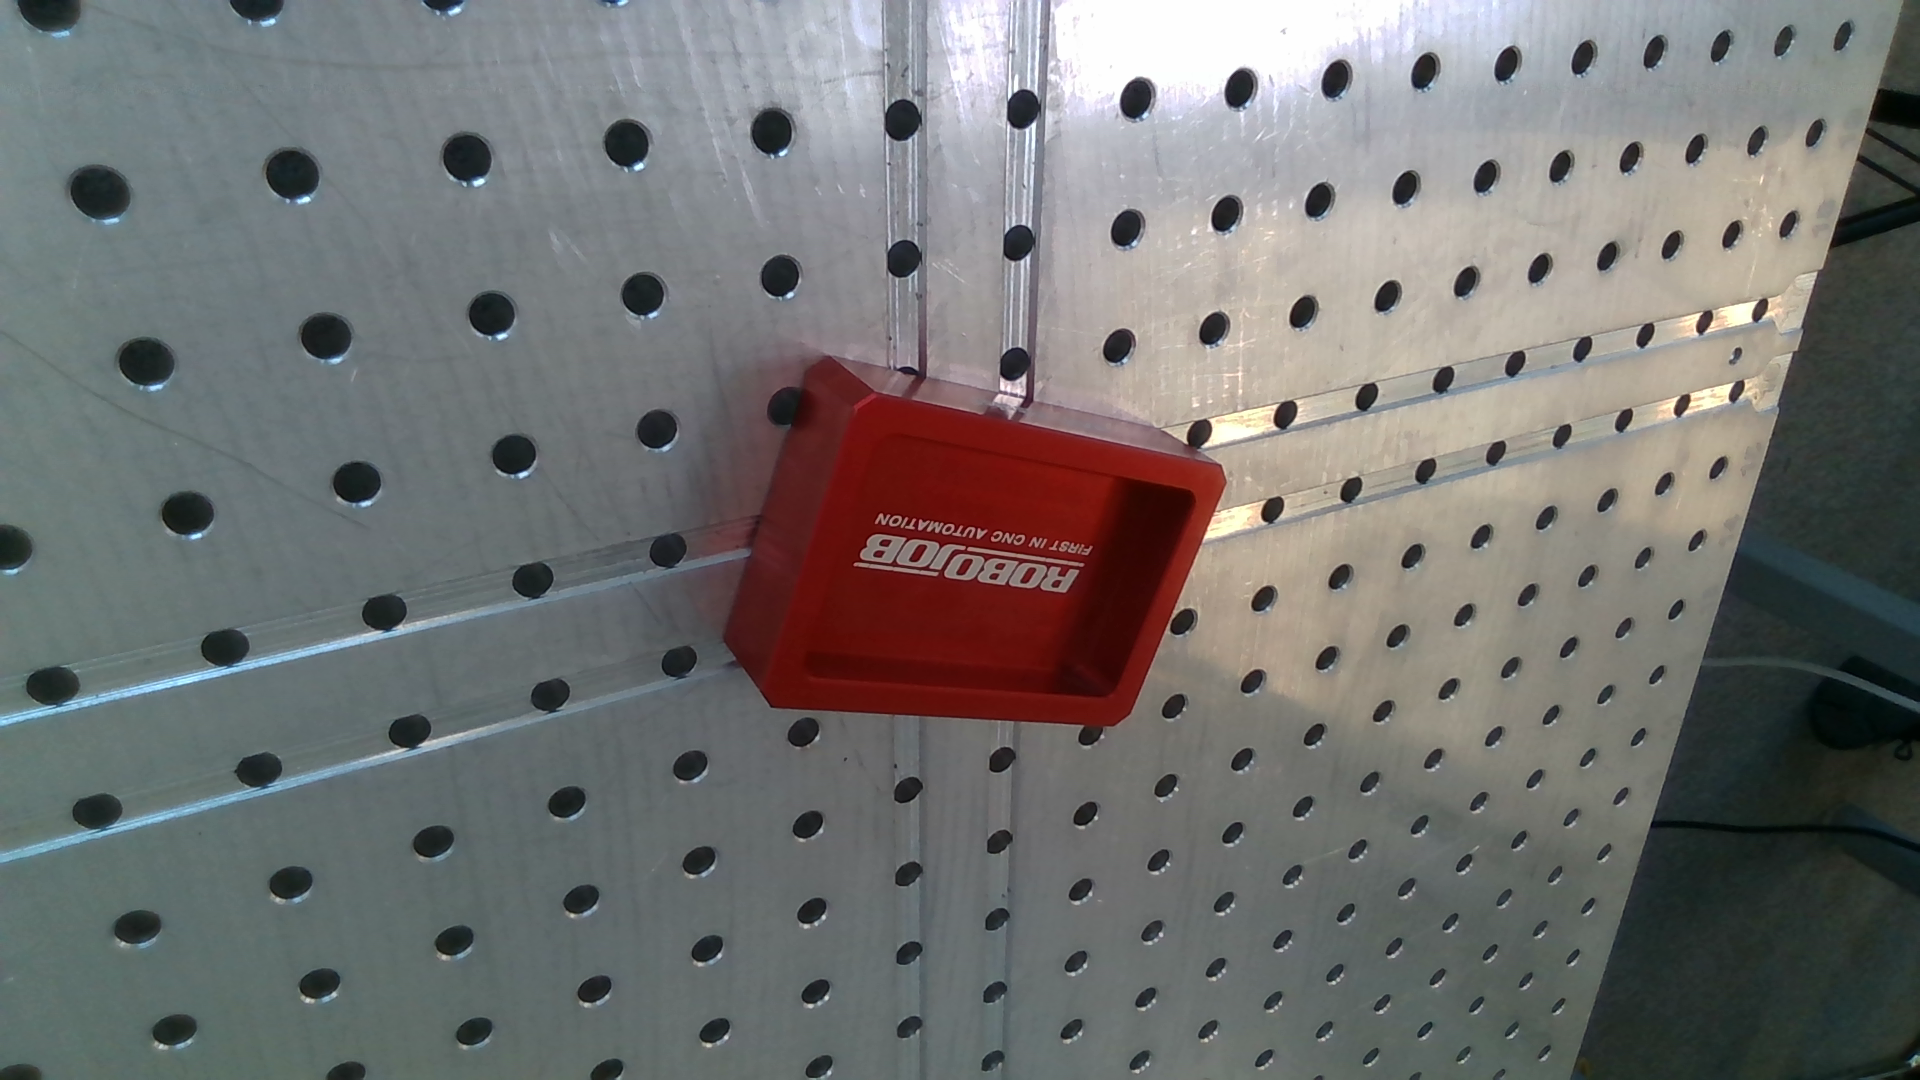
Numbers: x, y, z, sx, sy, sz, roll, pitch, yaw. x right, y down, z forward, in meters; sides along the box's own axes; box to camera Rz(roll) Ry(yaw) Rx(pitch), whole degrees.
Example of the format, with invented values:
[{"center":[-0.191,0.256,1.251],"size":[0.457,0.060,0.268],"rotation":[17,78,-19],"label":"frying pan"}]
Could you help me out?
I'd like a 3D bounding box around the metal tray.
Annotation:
[{"center":[0.006,0.005,0.395],"size":[0.130,0.030,0.090],"rotation":[8,111,-34],"label":"metal tray"}]
